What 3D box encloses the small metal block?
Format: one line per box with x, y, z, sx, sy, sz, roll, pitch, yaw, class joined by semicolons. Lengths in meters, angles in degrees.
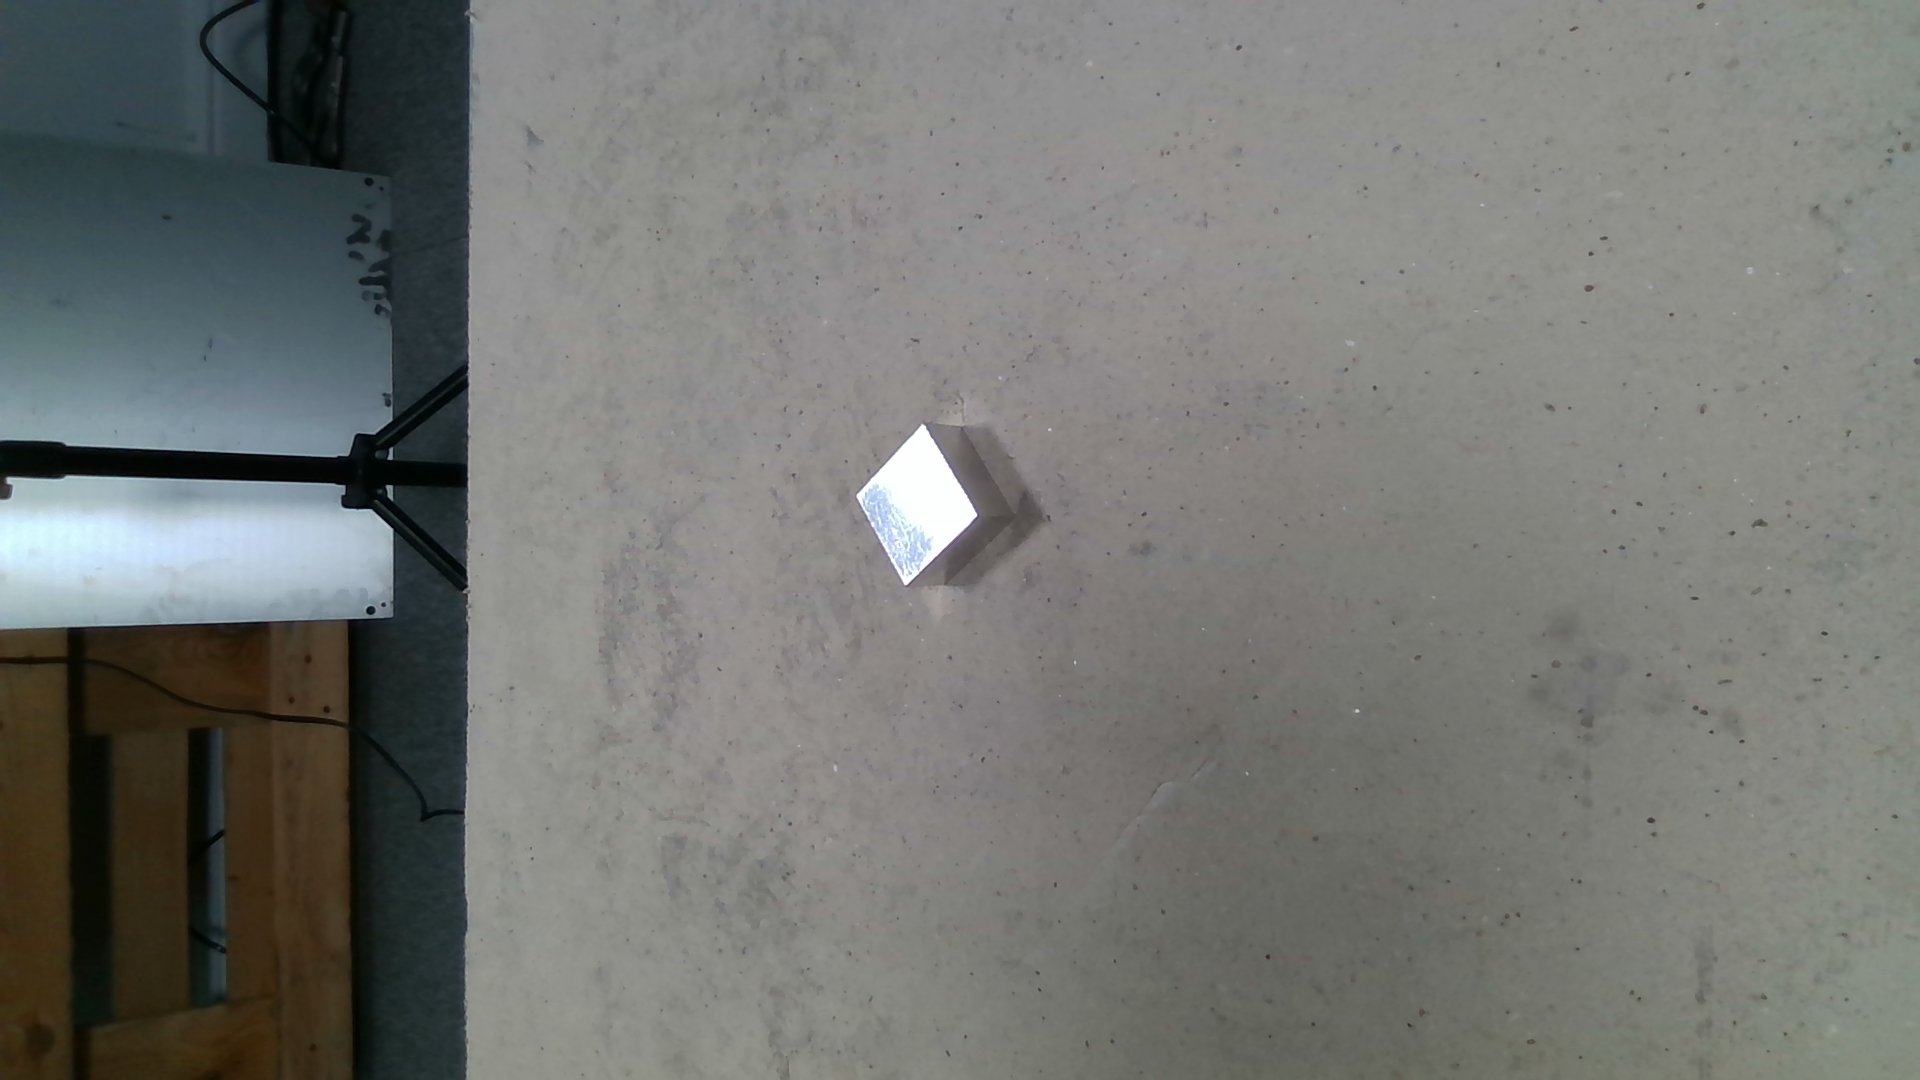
-0.012;-0.015;0.592;0.050;0.025;0.050;-44;63;31;small metal block
